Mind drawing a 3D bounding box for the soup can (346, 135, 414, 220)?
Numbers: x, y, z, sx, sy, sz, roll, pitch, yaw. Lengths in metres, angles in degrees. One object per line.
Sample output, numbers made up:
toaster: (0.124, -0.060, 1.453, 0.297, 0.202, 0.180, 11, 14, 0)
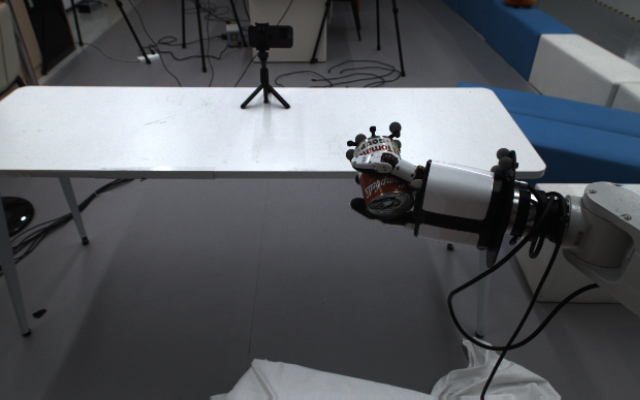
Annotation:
soup can: (0.090, -0.033, 0.689, 0.067, 0.067, 0.101, -5, 57, -10)
